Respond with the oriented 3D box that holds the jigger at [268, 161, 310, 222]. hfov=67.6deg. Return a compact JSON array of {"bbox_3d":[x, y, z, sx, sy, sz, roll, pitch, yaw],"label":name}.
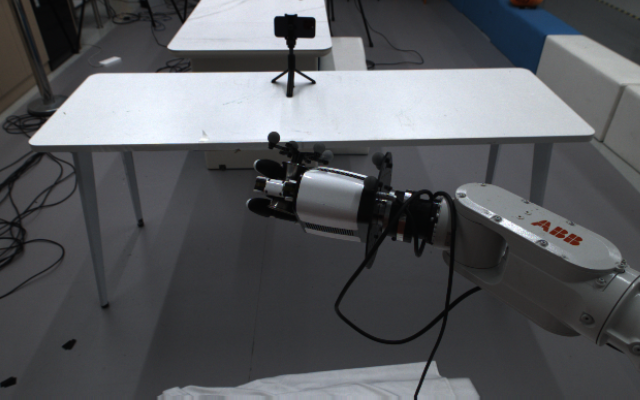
[{"bbox_3d":[-0.041,-0.016,0.681,0.043,0.071,0.043,15,-7,2],"label":"jigger"}]
